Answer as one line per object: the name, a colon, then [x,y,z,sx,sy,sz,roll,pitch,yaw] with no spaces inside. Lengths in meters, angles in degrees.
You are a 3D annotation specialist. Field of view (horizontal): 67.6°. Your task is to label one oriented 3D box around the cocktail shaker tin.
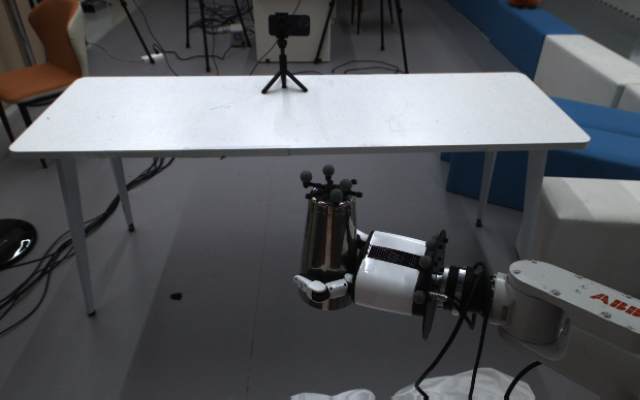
cocktail shaker tin: [0.015,0.066,0.715,0.093,0.170,0.093,1,28,-1]
